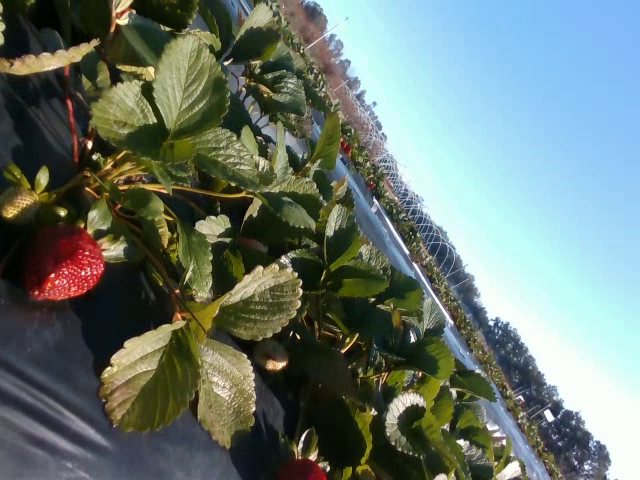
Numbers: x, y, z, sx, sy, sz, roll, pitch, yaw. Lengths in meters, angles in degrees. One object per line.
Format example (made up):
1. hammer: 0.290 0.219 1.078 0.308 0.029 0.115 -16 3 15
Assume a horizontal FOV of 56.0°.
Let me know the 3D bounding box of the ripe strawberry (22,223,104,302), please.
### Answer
1. ripe strawberry: -0.120 0.013 0.275 0.043 0.042 0.053 -29 25 -6
